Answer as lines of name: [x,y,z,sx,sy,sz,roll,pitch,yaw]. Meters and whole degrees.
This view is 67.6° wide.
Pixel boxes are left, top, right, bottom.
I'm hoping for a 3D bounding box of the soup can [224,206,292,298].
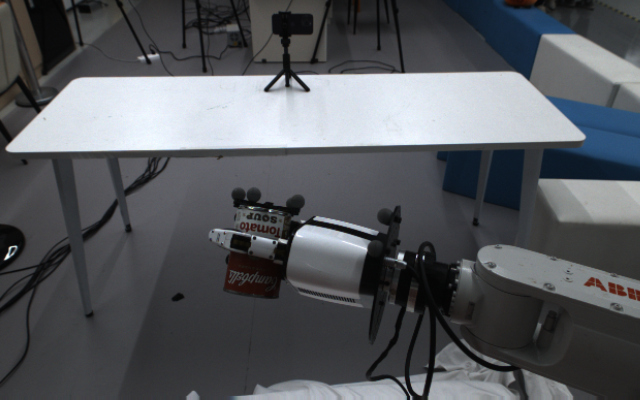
soup can: [-0.073,0.063,0.580,0.067,0.101,0.067,9,-6,1]
